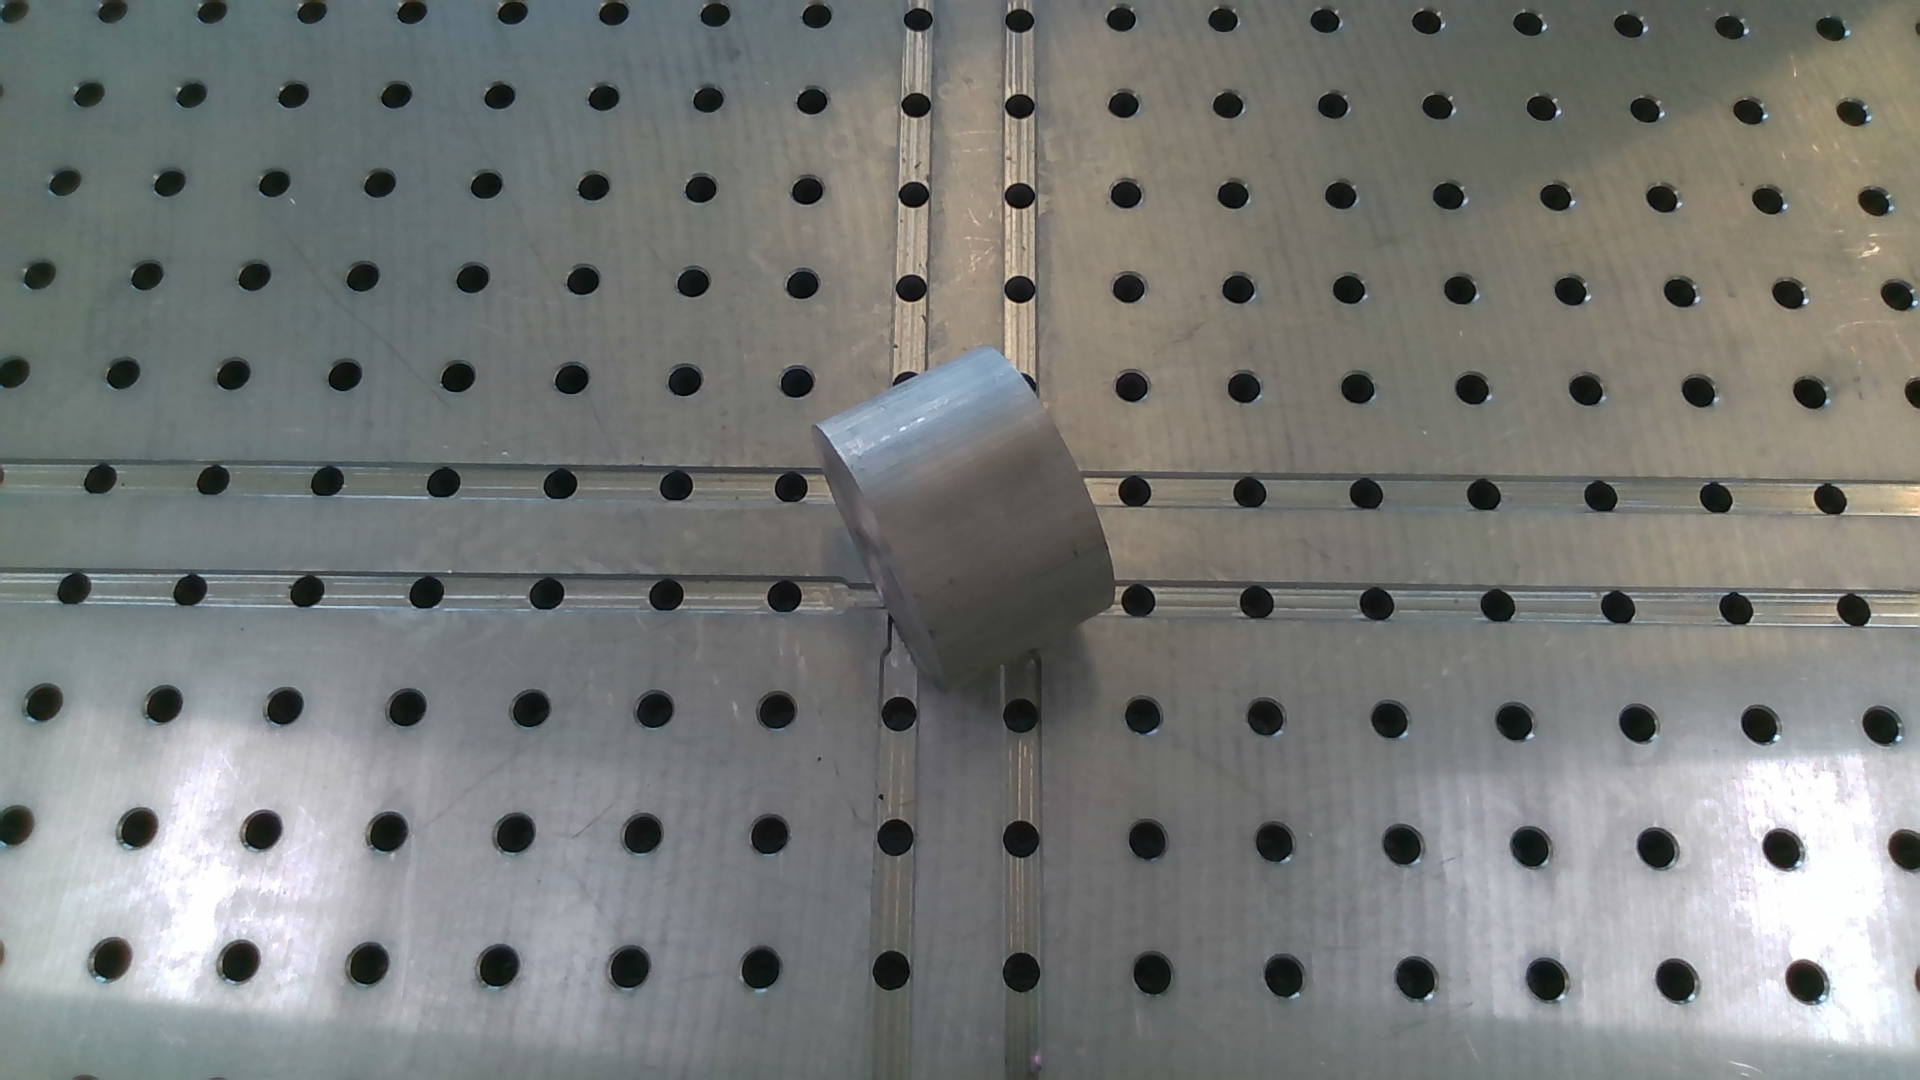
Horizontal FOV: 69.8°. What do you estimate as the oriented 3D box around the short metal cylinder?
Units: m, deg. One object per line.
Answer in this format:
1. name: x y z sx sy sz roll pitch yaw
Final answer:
1. short metal cylinder: 0.000 -0.006 0.370 0.050 0.080 0.080 -27 72 -10
